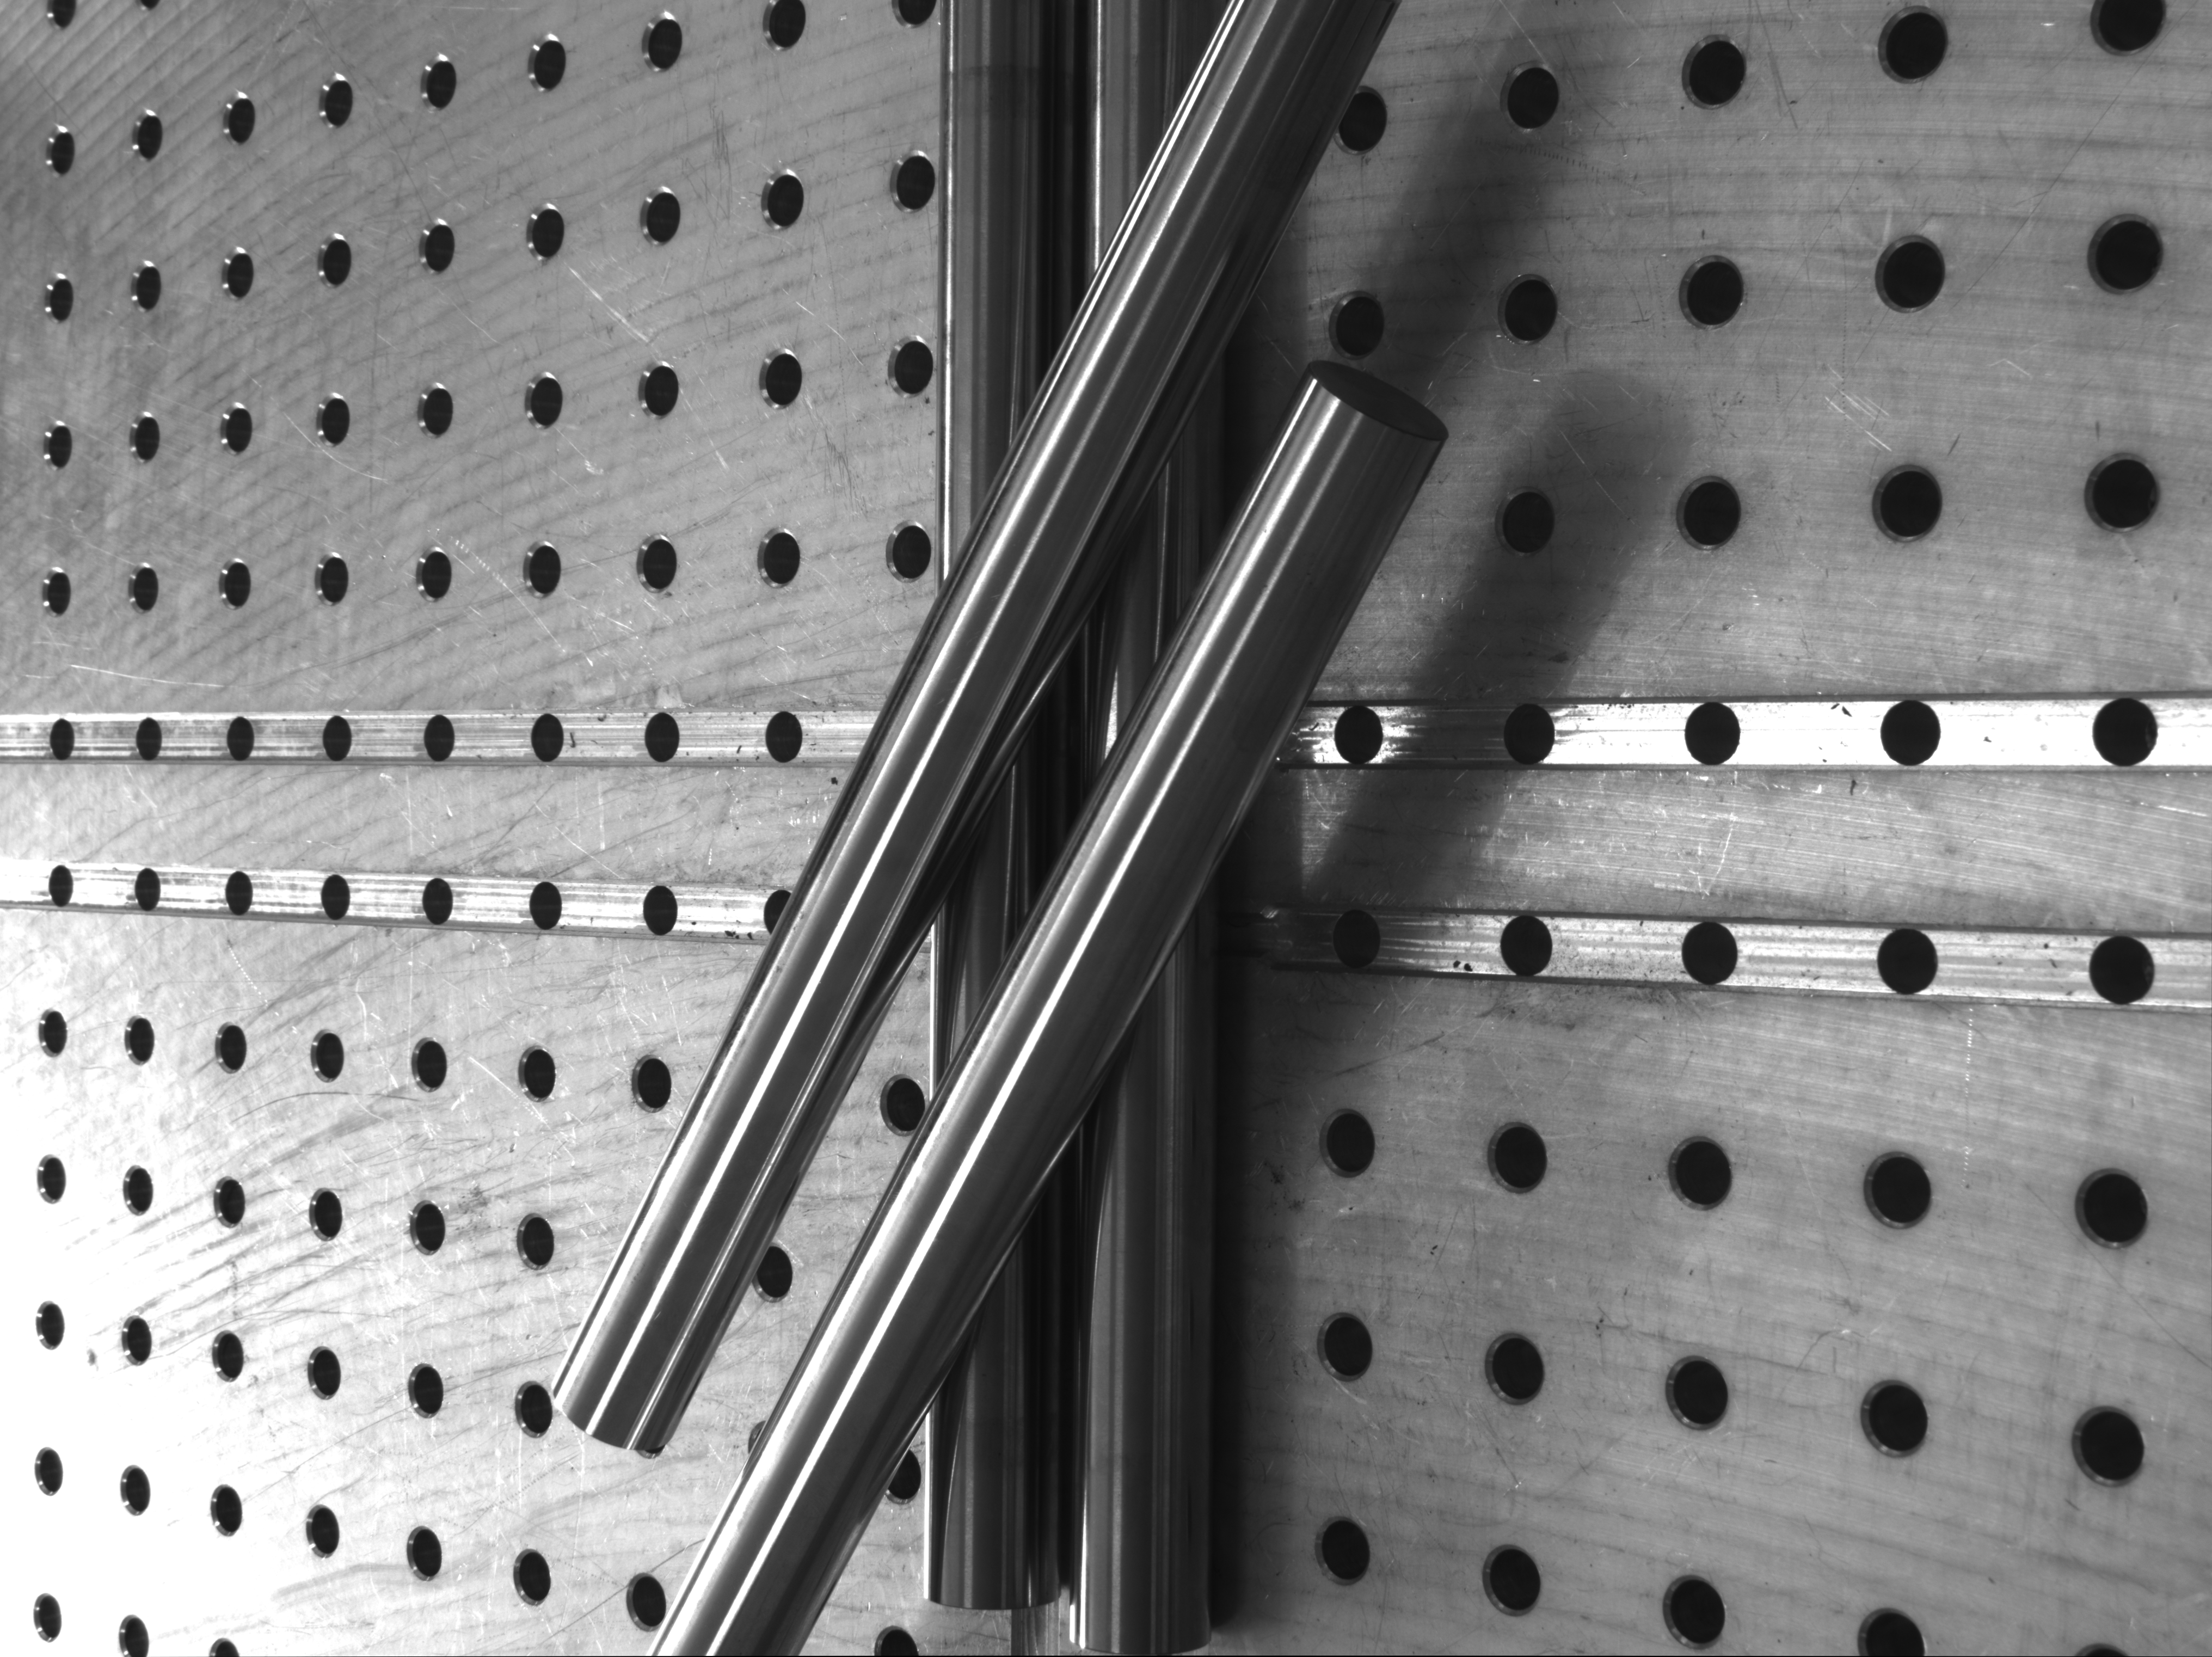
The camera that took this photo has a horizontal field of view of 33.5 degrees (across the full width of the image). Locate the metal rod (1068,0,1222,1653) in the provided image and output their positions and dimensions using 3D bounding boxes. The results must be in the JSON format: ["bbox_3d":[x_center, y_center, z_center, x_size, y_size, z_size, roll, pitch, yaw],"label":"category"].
[{"bbox_3d":[0.007,-0.008,0.644,0.025,0.025,0.300,1,91,40],"label":"metal rod"}]

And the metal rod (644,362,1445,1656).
[{"bbox_3d":[-0.022,0.057,0.634,0.025,0.025,0.300,42,115,32],"label":"metal rod"}]

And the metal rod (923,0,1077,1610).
[{"bbox_3d":[-0.019,-0.011,0.666,0.025,0.025,0.300,1,91,40],"label":"metal rod"}]

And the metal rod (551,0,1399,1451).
[{"bbox_3d":[-0.029,-0.014,0.641,0.025,0.025,0.300,42,115,32],"label":"metal rod"}]
